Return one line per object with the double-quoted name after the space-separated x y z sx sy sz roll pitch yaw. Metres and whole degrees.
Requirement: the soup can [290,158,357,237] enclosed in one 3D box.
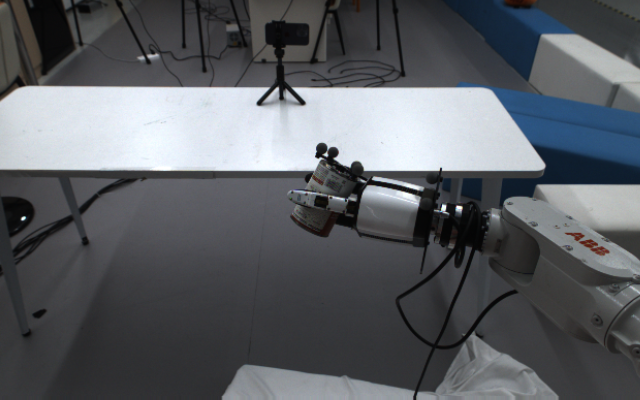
0.007 -0.002 0.745 0.067 0.101 0.067 27 10 -5 "soup can"
